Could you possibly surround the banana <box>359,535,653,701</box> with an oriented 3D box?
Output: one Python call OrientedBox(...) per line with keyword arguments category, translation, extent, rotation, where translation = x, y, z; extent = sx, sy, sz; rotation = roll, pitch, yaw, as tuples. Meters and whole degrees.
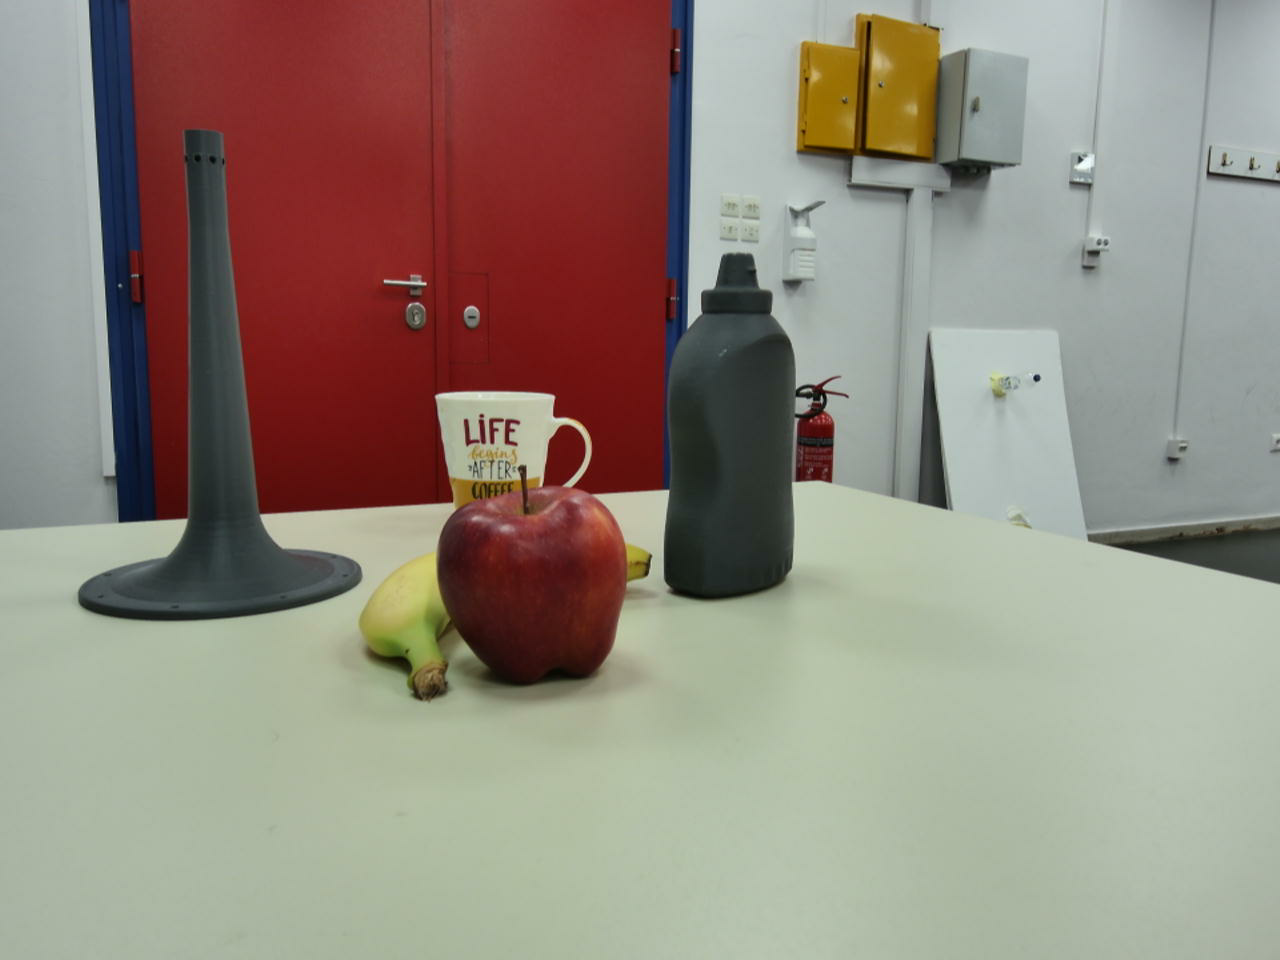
OrientedBox(category="banana", translation=(-0.076, 0.056, 0.503), extent=(0.094, 0.041, 0.196), rotation=(4, 7, 29))
